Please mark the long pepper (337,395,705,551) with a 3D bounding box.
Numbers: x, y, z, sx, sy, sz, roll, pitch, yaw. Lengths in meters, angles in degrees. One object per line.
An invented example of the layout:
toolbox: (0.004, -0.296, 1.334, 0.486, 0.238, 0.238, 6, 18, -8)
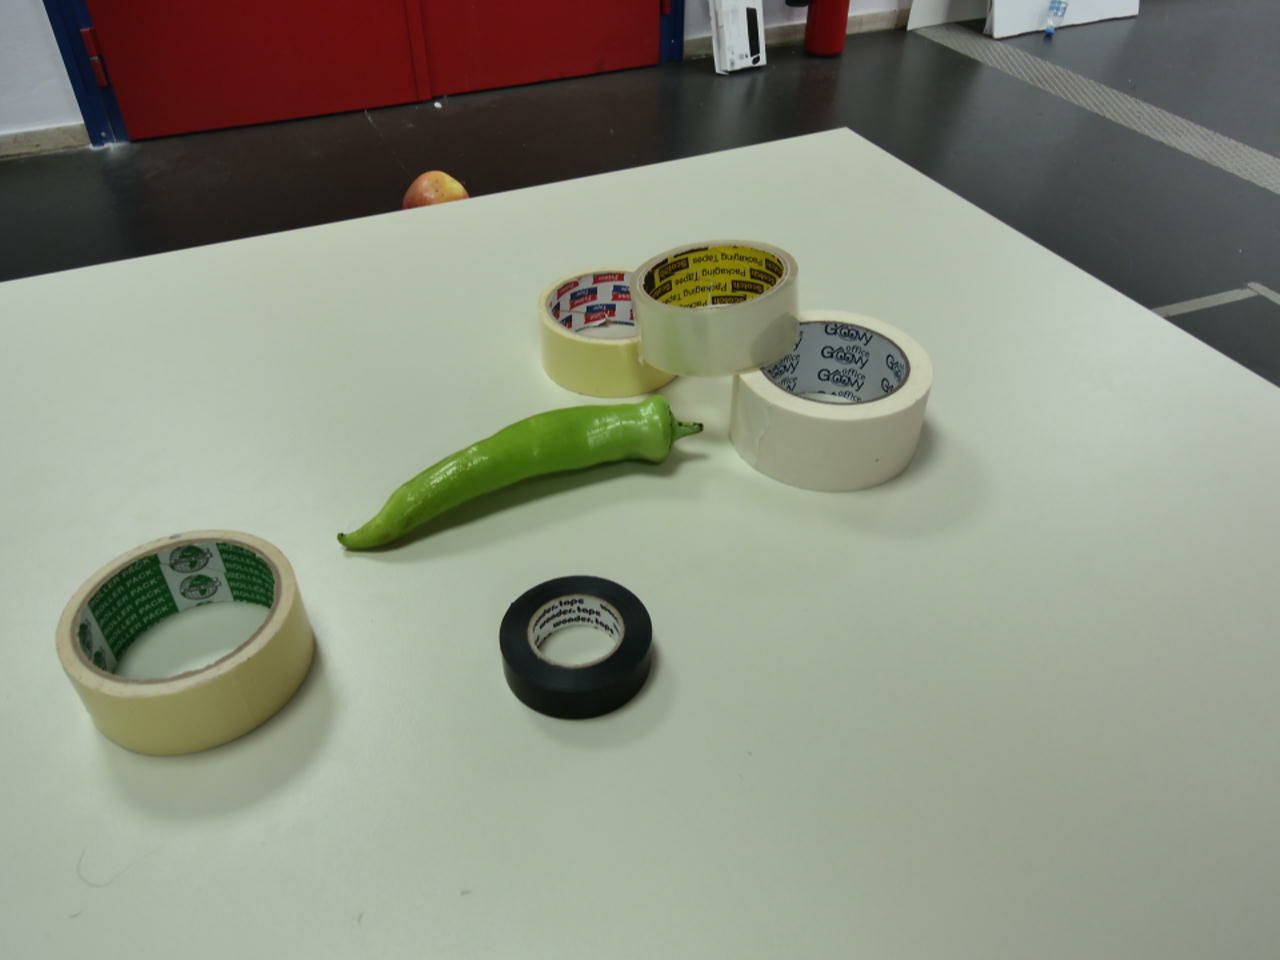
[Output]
long pepper: (-0.061, -0.011, 0.518, 0.197, 0.038, 0.047, -15, 41, -18)
